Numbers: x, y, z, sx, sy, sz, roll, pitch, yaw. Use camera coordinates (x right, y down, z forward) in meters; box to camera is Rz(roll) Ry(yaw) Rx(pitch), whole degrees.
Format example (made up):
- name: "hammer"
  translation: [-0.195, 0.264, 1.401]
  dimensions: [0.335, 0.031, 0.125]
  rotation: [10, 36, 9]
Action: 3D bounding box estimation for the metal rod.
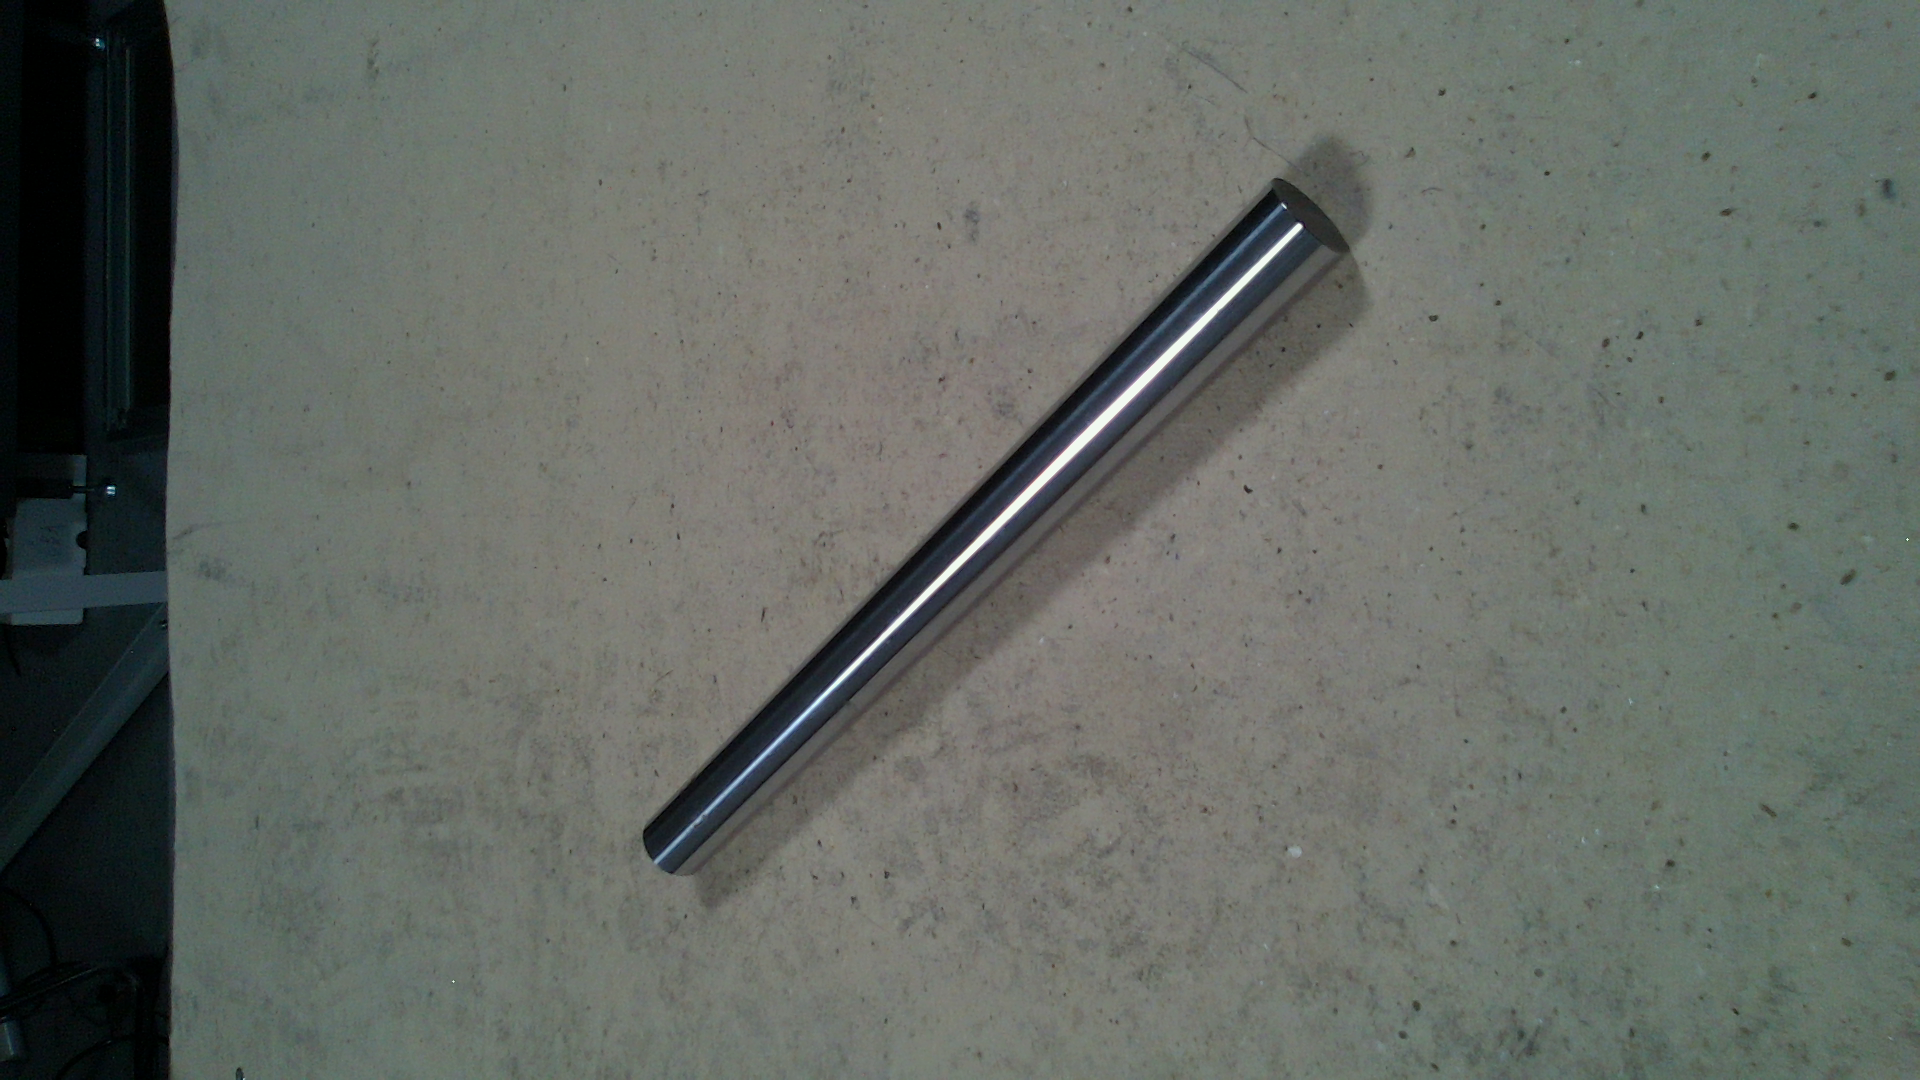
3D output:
- name: "metal rod"
  translation: [-0.008, 0.014, 0.402]
  dimensions: [0.299, 0.025, 0.025]
  rotation: [-45, 63, 31]
